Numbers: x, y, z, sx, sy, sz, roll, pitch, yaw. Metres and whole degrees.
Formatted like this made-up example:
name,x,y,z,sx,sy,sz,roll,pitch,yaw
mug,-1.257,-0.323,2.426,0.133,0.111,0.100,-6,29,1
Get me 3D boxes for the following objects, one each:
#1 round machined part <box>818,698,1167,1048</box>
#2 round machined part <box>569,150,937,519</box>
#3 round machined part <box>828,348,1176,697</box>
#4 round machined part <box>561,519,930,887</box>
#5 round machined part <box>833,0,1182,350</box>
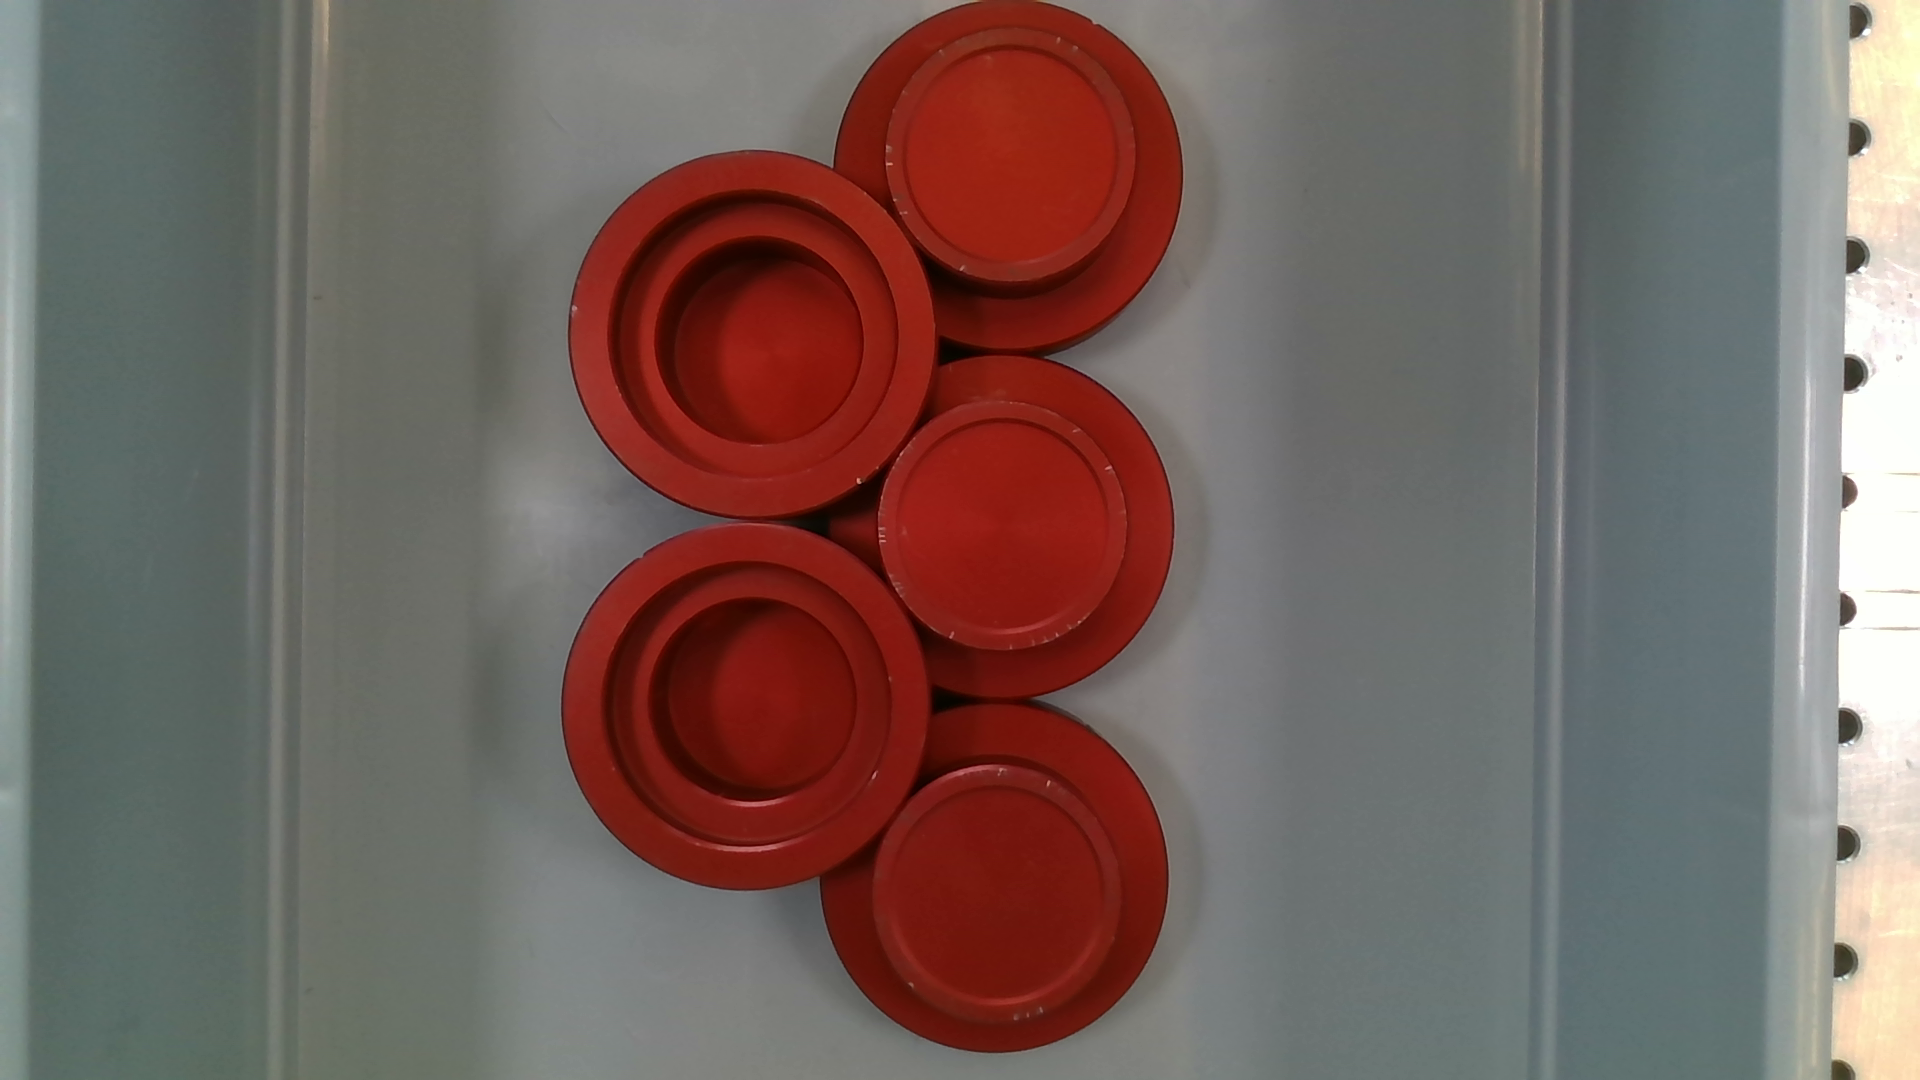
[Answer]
name,x,y,z,sx,sy,sz,roll,pitch,yaw
round machined part,0.009,0.093,0.385,0.098,0.042,0.098,0,90,-1
round machined part,-0.055,-0.055,0.385,0.098,0.042,0.098,0,90,0
round machined part,0.012,-0.005,0.385,0.098,0.042,0.098,0,90,-1
round machined part,-0.057,0.043,0.386,0.098,0.042,0.098,0,90,0
round machined part,0.013,-0.103,0.384,0.098,0.042,0.098,0,91,-1
